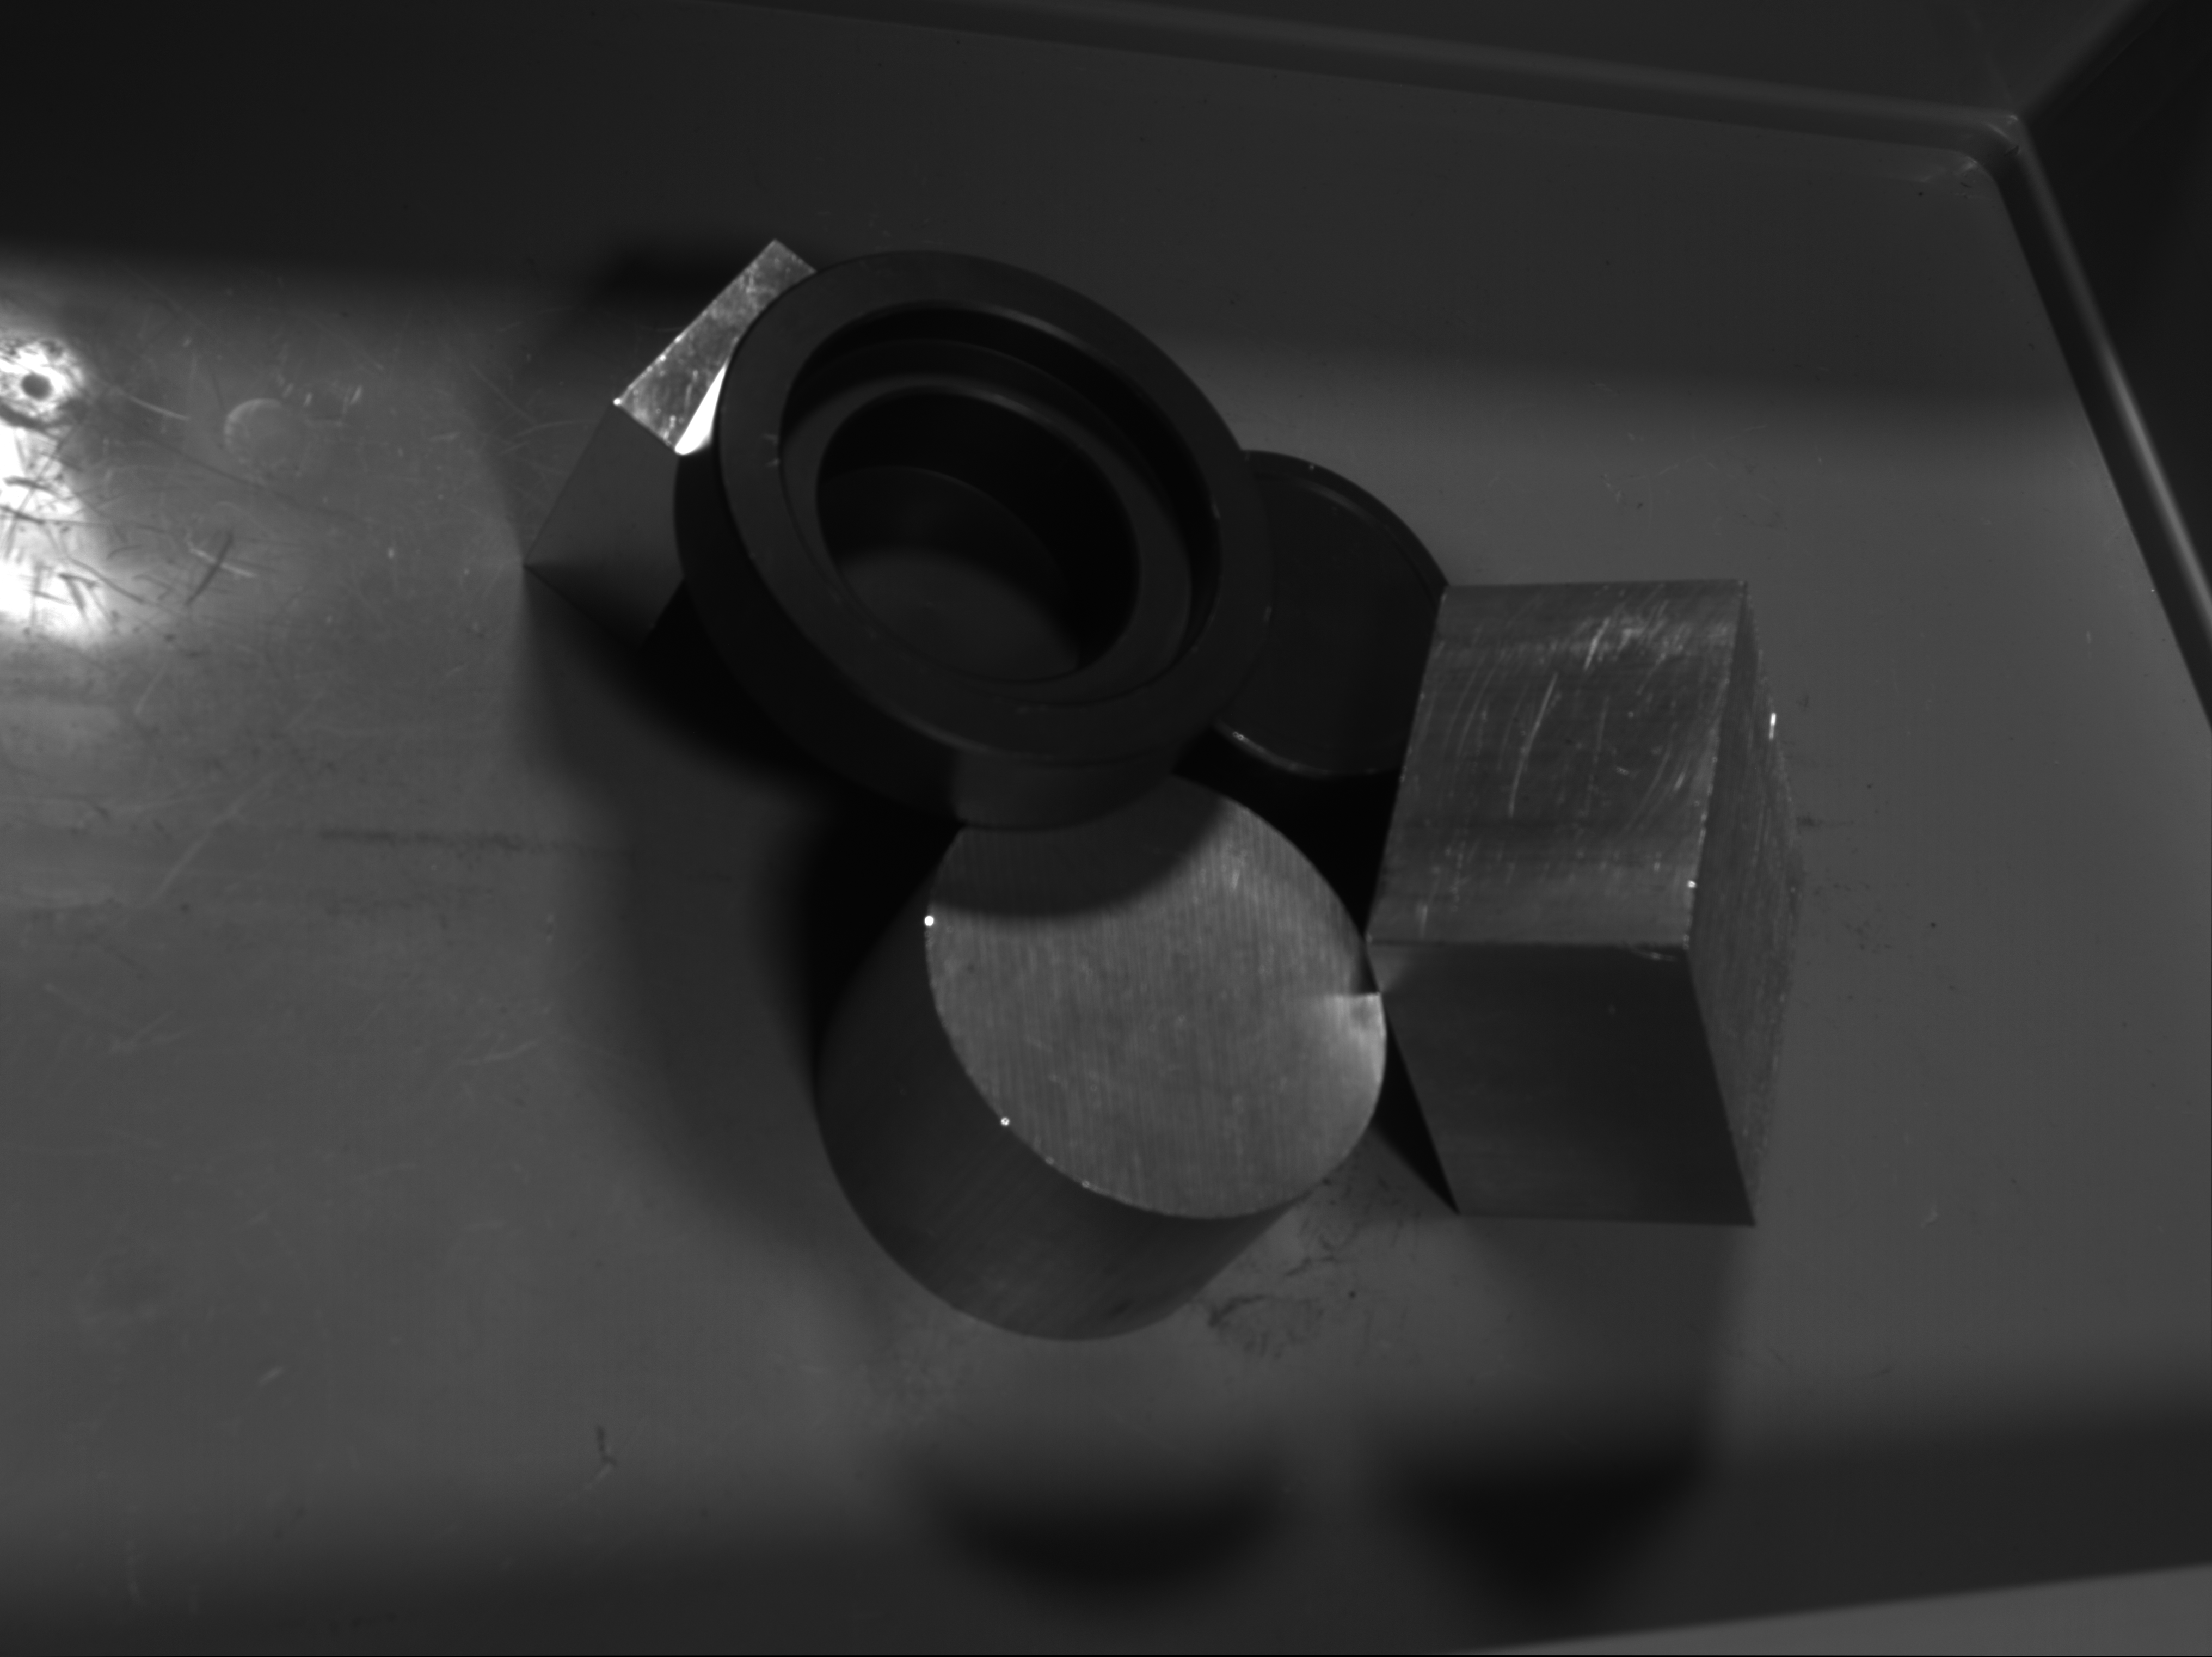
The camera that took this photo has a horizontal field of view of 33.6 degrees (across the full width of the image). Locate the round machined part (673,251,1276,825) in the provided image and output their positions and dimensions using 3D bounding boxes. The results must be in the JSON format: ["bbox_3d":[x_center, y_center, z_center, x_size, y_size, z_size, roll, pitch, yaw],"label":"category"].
[{"bbox_3d":[-0.025,-0.043,0.603,0.098,0.042,0.098,14,56,-21],"label":"round machined part"}]

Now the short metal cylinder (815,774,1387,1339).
[{"bbox_3d":[-0.001,0.037,0.599,0.080,0.050,0.080,14,56,-21],"label":"short metal cylinder"}]

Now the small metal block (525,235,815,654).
[{"bbox_3d":[-0.068,-0.065,0.625,0.025,0.050,0.050,38,51,-3],"label":"small metal block"}]

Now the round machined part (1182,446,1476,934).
[{"bbox_3d":[0.027,-0.029,0.657,0.098,0.042,0.098,14,56,-21],"label":"round machined part"}]

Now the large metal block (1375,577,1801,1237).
[{"bbox_3d":[0.086,0.014,0.632,0.050,0.080,0.080,0,50,20],"label":"large metal block"}]
